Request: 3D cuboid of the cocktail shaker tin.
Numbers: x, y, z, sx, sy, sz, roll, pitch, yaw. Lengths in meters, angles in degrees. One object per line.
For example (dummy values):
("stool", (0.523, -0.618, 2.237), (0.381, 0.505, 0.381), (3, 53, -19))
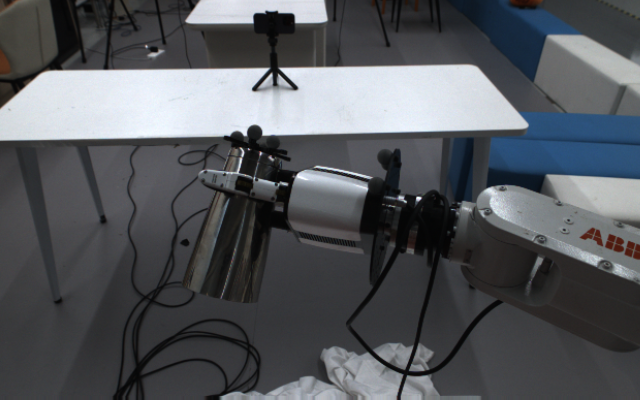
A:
("cocktail shaker tin", (-0.096, 0.026, 0.582), (0.093, 0.170, 0.093), (15, -5, 1))
